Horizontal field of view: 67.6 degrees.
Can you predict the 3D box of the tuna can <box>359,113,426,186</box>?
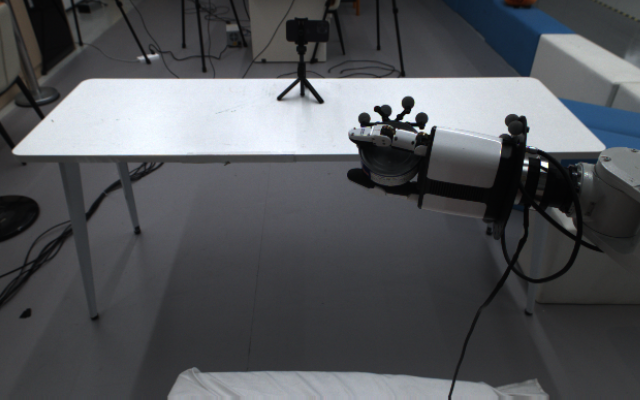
[{"bbox_3d":[0.096,-0.063,0.654,0.085,0.034,0.085,-4,61,7],"label":"tuna can"}]
